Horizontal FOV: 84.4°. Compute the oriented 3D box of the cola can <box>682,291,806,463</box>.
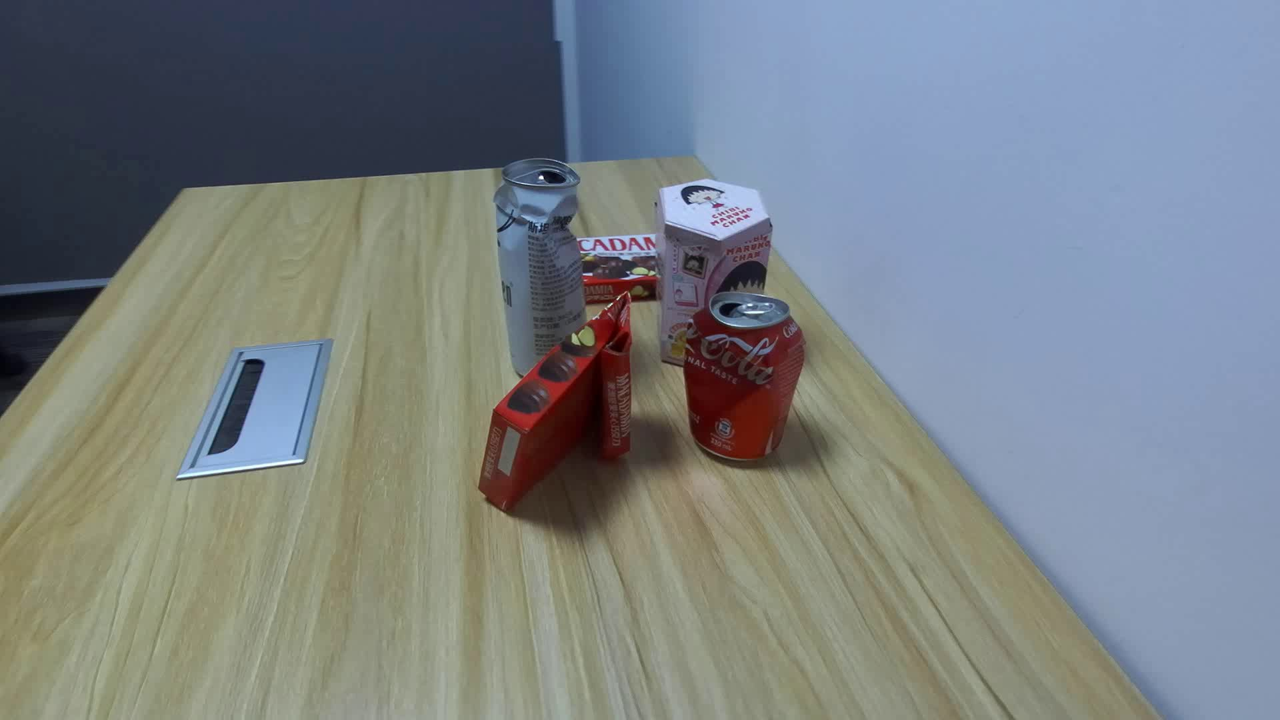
[{"bbox_3d":[0.071,0.012,0.481,0.066,0.112,0.069,-20,40,-28],"label":"cola can"}]

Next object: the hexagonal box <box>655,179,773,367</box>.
[{"bbox_3d":[0.056,-0.066,0.573,0.092,0.135,0.084,-18,38,-26],"label":"hexagonal box"}]

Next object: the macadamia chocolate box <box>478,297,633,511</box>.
[{"bbox_3d":[-0.047,0.029,0.458,0.056,0.112,0.127,28,42,30],"label":"macadamia chocolate box"}]

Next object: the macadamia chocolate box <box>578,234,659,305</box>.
[{"bbox_3d":[-0.014,-0.091,0.706,0.187,0.027,0.102,-6,39,-11],"label":"macadamia chocolate box"}]

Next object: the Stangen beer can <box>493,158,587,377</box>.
[{"bbox_3d":[-0.072,-0.062,0.543,0.066,0.166,0.065,-25,40,-36],"label":"Stangen beer can"}]
